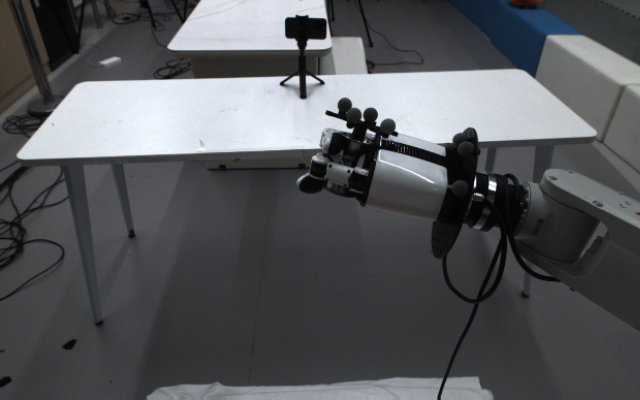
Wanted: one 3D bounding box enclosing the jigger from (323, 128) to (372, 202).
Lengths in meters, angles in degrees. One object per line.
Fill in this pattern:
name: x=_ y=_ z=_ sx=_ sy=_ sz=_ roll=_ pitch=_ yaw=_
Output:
jigger: x=0.031 y=-0.044 z=0.579 sx=0.043 sy=0.071 sz=0.043 roll=18 pitch=17 yaw=-6
